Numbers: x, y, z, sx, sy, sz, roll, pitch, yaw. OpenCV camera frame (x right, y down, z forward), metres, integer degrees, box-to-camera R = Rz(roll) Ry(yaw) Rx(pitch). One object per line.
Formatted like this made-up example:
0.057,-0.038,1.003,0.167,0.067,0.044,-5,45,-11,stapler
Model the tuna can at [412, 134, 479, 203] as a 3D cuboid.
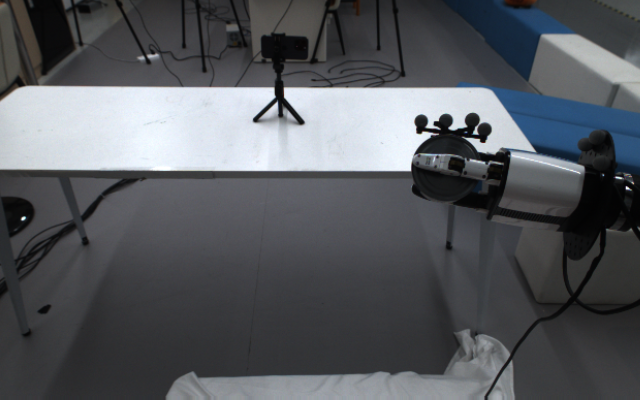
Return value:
0.161,-0.043,0.619,0.085,0.085,0.034,10,-6,12,tuna can
